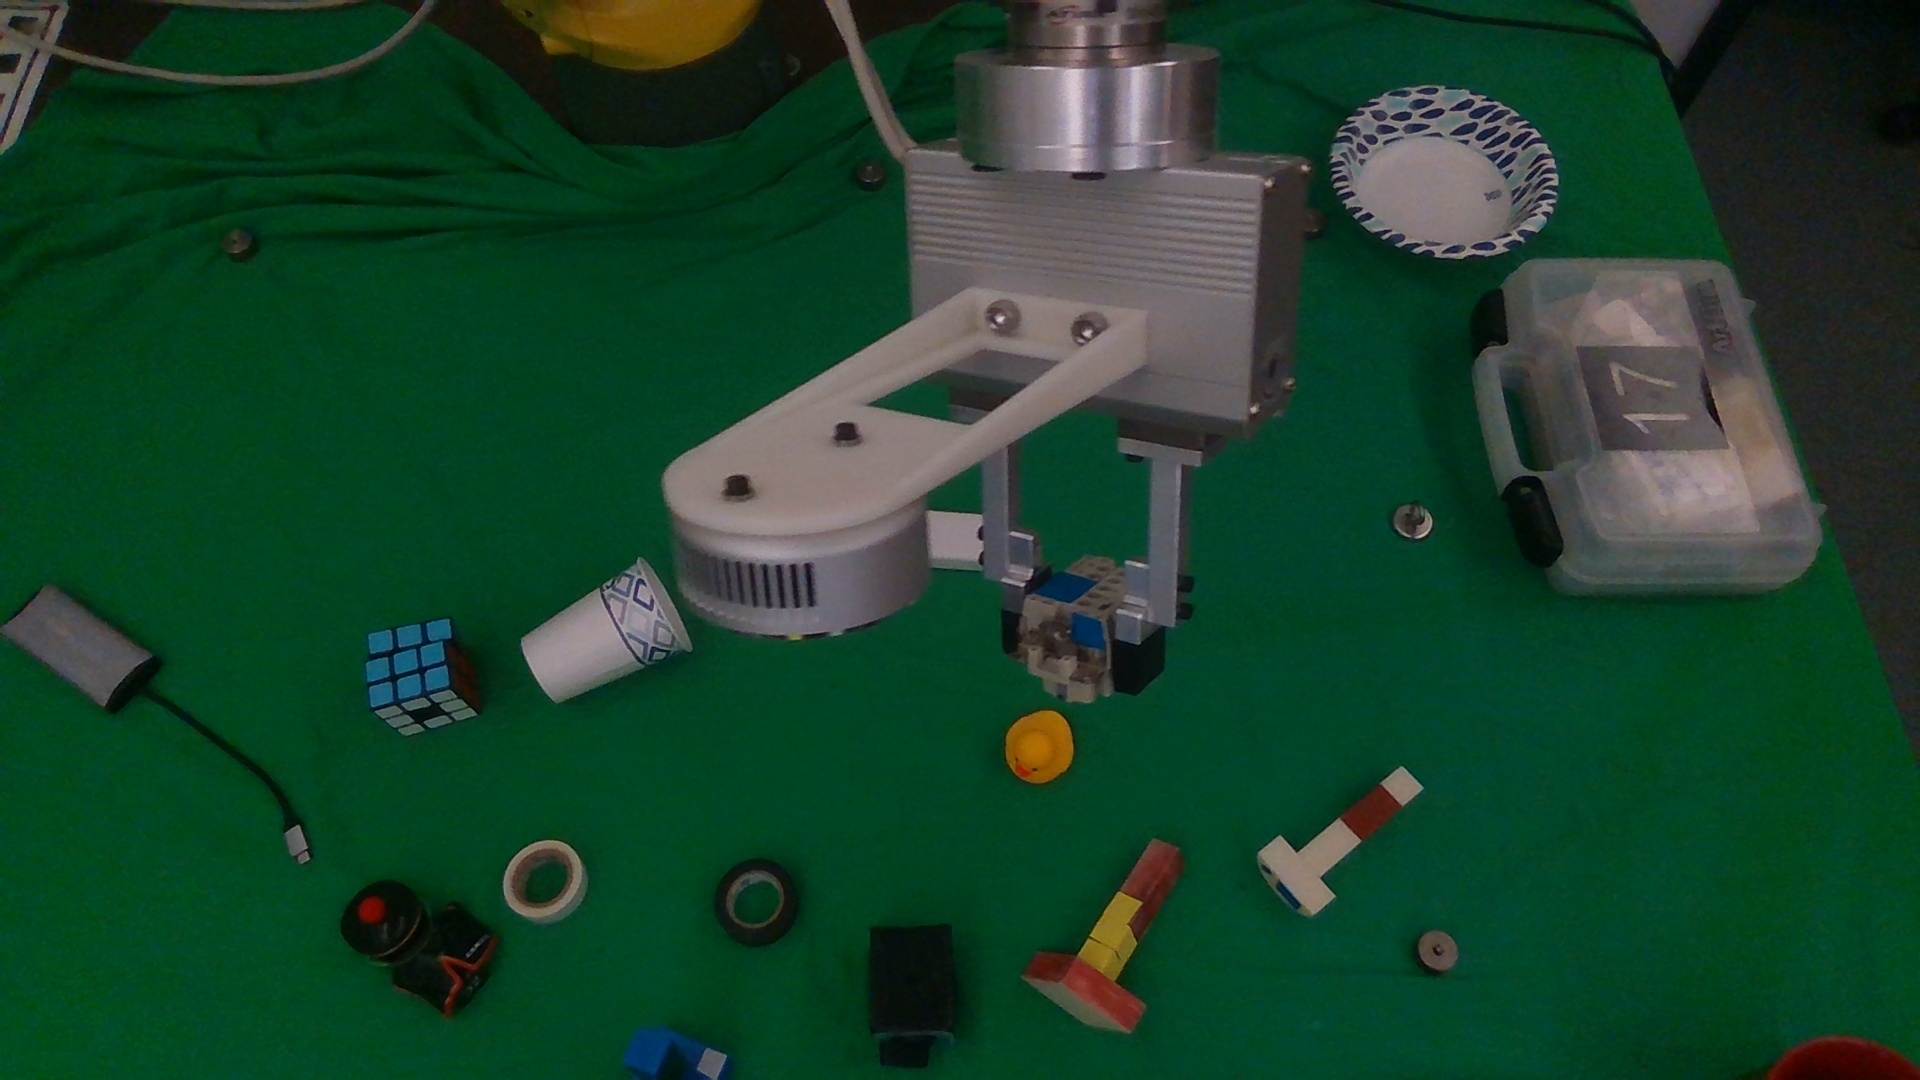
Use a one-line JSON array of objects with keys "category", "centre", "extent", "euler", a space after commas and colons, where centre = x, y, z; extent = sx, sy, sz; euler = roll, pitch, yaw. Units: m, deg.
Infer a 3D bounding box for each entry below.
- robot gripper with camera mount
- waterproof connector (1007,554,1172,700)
[{"category": "robot gripper with camera mount", "centre": [0.007, -0.001, 0.394], "extent": [0.119, 0.158, 0.193], "euler": [14, 30, 25]}, {"category": "waterproof connector", "centre": [0.046, 0.031, 0.491], "extent": [0.035, 0.037, 0.065], "euler": [11, 26, 32]}]
